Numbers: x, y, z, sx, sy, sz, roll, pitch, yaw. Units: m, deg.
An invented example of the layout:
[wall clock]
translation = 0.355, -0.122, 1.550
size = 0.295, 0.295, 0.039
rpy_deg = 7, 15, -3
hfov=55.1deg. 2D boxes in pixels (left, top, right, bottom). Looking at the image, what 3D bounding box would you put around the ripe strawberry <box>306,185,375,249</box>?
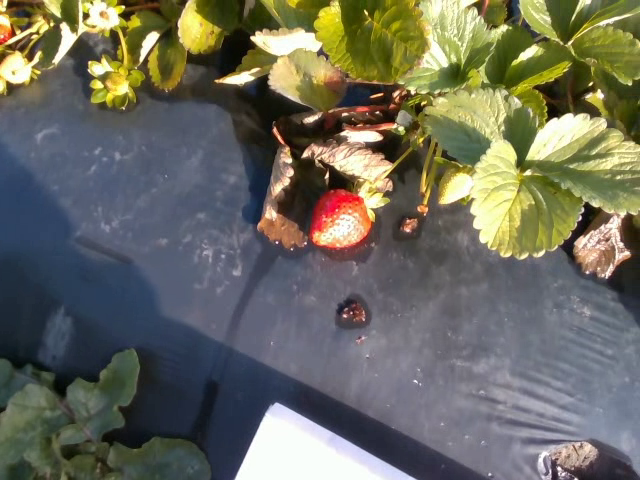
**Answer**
[ripe strawberry]
translation = 0.006, -0.005, 0.332
size = 0.054, 0.047, 0.038
rpy_deg = -41, -6, -31
